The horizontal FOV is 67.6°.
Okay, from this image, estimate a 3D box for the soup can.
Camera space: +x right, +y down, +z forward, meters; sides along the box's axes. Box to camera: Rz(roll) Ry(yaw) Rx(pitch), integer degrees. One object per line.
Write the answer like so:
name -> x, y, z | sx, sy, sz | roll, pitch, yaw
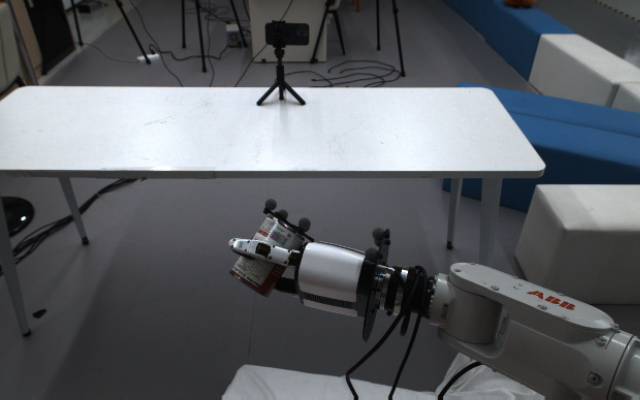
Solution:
soup can -> -0.076, 0.083, 0.710 | 0.067, 0.067, 0.101 | 27, 78, 31
